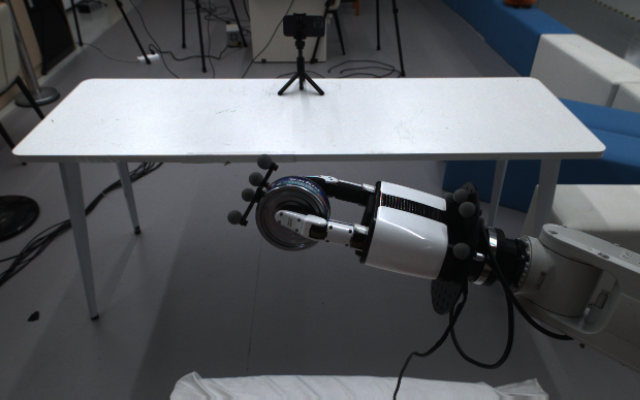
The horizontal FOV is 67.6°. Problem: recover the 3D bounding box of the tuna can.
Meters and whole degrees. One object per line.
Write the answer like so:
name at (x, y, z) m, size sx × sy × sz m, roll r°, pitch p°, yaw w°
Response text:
tuna can at (-0.027, 0.020, 0.569) m, size 0.085 × 0.085 × 0.034 m, roll 3°, pitch 21°, yaw 2°
